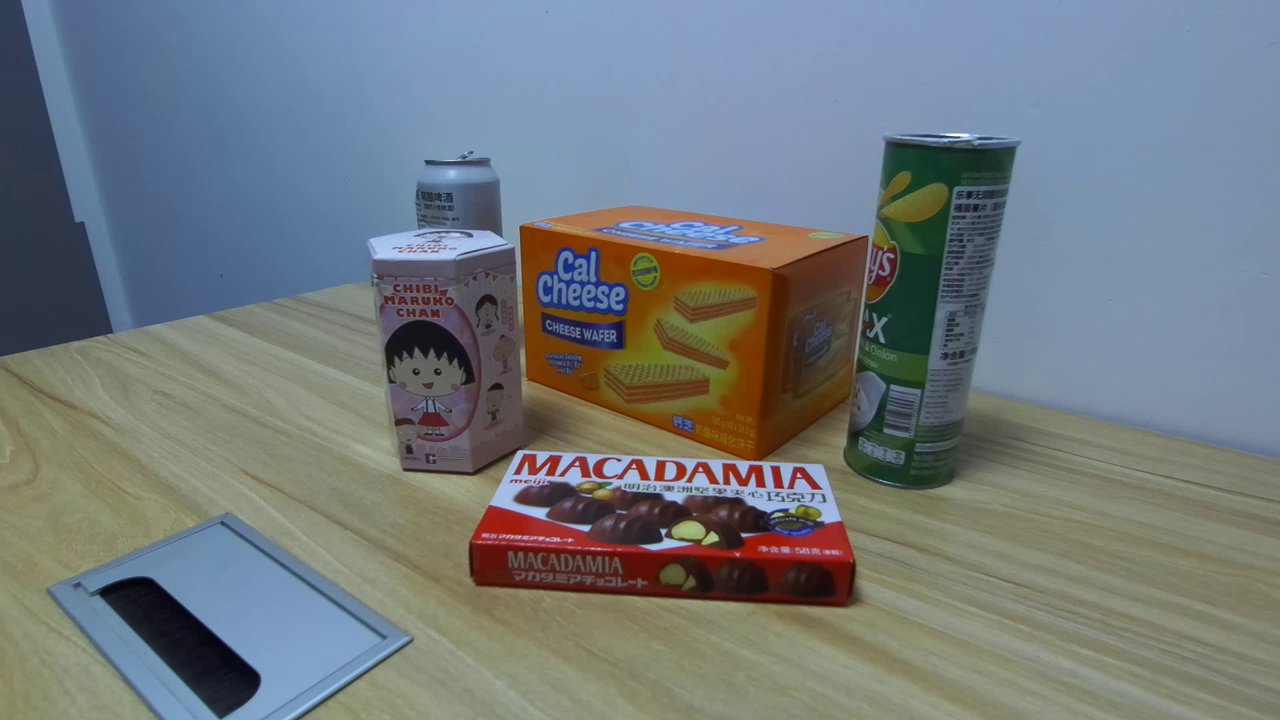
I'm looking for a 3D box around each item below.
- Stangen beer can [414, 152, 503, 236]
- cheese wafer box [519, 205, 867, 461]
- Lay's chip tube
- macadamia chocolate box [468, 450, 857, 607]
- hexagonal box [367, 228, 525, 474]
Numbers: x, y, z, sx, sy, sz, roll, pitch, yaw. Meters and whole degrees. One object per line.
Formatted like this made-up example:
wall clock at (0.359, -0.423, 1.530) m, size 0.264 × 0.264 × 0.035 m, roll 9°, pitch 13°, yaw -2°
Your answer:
Stangen beer can at (-0.153, -0.087, 0.613) m, size 0.070 × 0.173 × 0.070 m, roll 8°, pitch 13°, yaw 23°
cheese wafer box at (0.038, -0.036, 0.541) m, size 0.221 × 0.129 × 0.149 m, roll 17°, pitch 26°, yaw 36°
Lay's chip tube at (0.167, -0.028, 0.416) m, size 0.071 × 0.202 × 0.071 m, roll 1°, pitch 20°, yaw 0°
macadamia chocolate box at (0.013, 0.083, 0.367) m, size 0.178 × 0.027 × 0.095 m, roll 2°, pitch 20°, yaw 5°
hexagonal box at (-0.119, -0.007, 0.444) m, size 0.091 × 0.136 × 0.084 m, roll 2°, pitch 20°, yaw 5°
